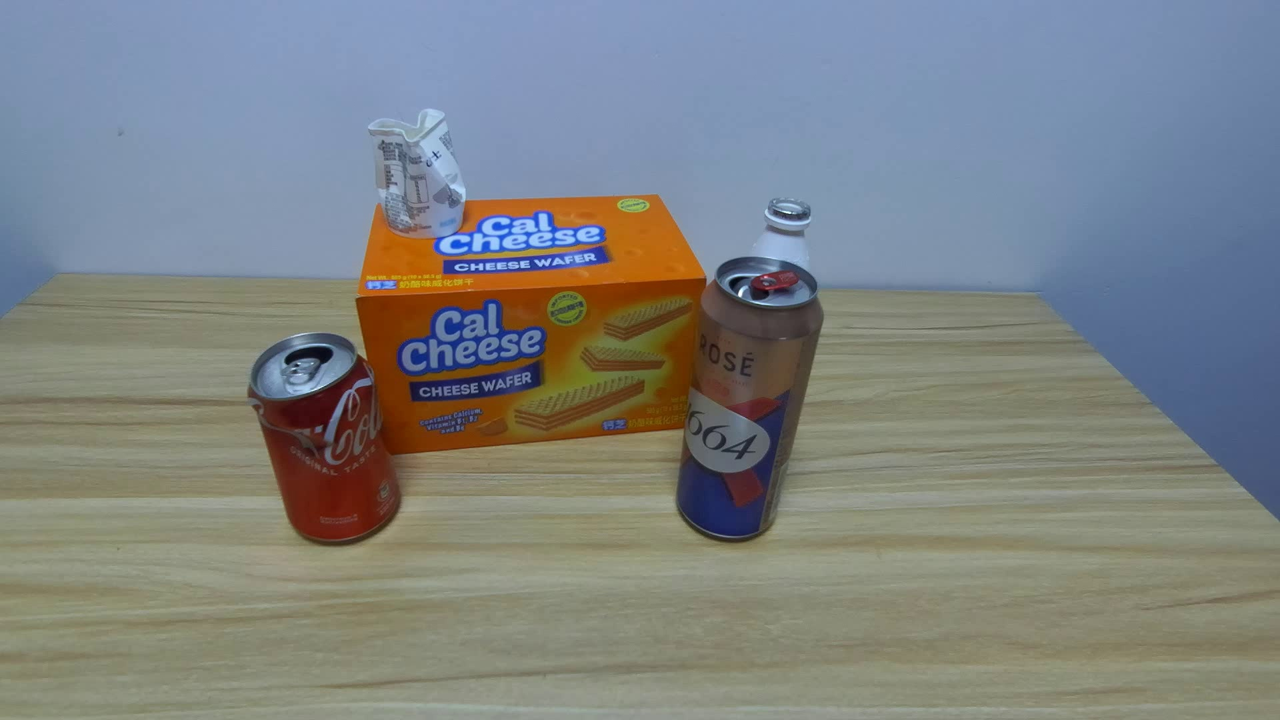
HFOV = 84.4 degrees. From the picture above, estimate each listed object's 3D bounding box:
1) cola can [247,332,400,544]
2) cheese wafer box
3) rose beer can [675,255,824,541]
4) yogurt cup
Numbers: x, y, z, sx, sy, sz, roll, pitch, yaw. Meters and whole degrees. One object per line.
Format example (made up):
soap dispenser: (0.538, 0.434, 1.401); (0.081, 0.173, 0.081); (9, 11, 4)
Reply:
cola can: (-0.178, 0.047, 0.409); (0.072, 0.117, 0.066); (26, 39, 31)
cheese wafer box: (-0.079, -0.033, 0.528); (0.222, 0.129, 0.147); (-5, 36, -12)
rose beer can: (0.062, 0.028, 0.416); (0.069, 0.169, 0.068); (3, 35, -2)
yogurt cup: (-0.150, -0.126, 0.479); (0.055, 0.072, 0.055); (25, 40, 24)
